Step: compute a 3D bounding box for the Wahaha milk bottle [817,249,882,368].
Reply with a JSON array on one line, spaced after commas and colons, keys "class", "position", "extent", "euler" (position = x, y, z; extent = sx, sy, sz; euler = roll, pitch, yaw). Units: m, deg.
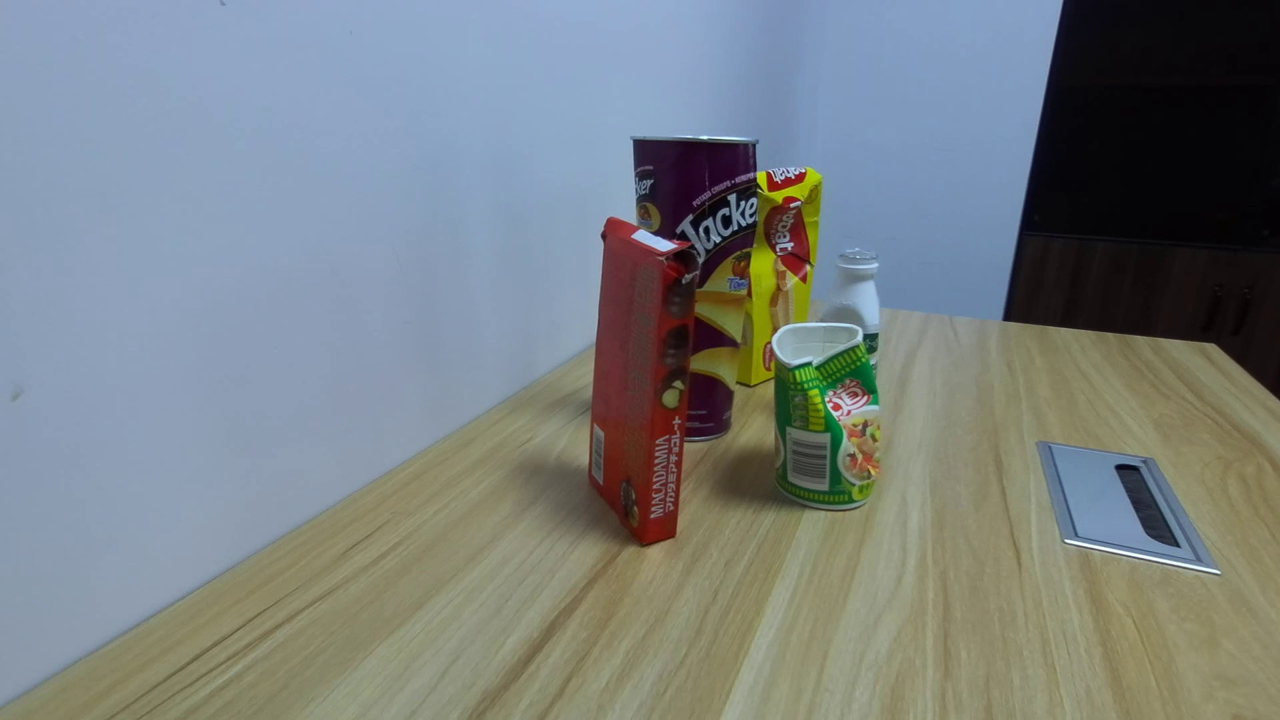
[{"class": "Wahaha milk bottle", "position": [0.173, -0.017, 0.590], "extent": [0.055, 0.149, 0.055], "euler": [1, 22, 0]}]

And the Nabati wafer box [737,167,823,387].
[{"class": "Nabati wafer box", "position": [0.126, -0.081, 0.688], "extent": [0.107, 0.204, 0.042], "euler": [-16, 26, -42]}]

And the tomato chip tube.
[{"class": "tomato chip tube", "position": [0.042, -0.057, 0.569], "extent": [0.076, 0.235, 0.077], "euler": [-12, 21, -33]}]

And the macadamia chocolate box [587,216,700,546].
[{"class": "macadamia chocolate box", "position": [-0.002, 0.010, 0.448], "extent": [0.027, 0.187, 0.102], "euler": [-5, 20, -26]}]

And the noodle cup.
[{"class": "noodle cup", "position": [0.130, 0.037, 0.489], "extent": [0.083, 0.122, 0.075], "euler": [-14, 15, -12]}]
